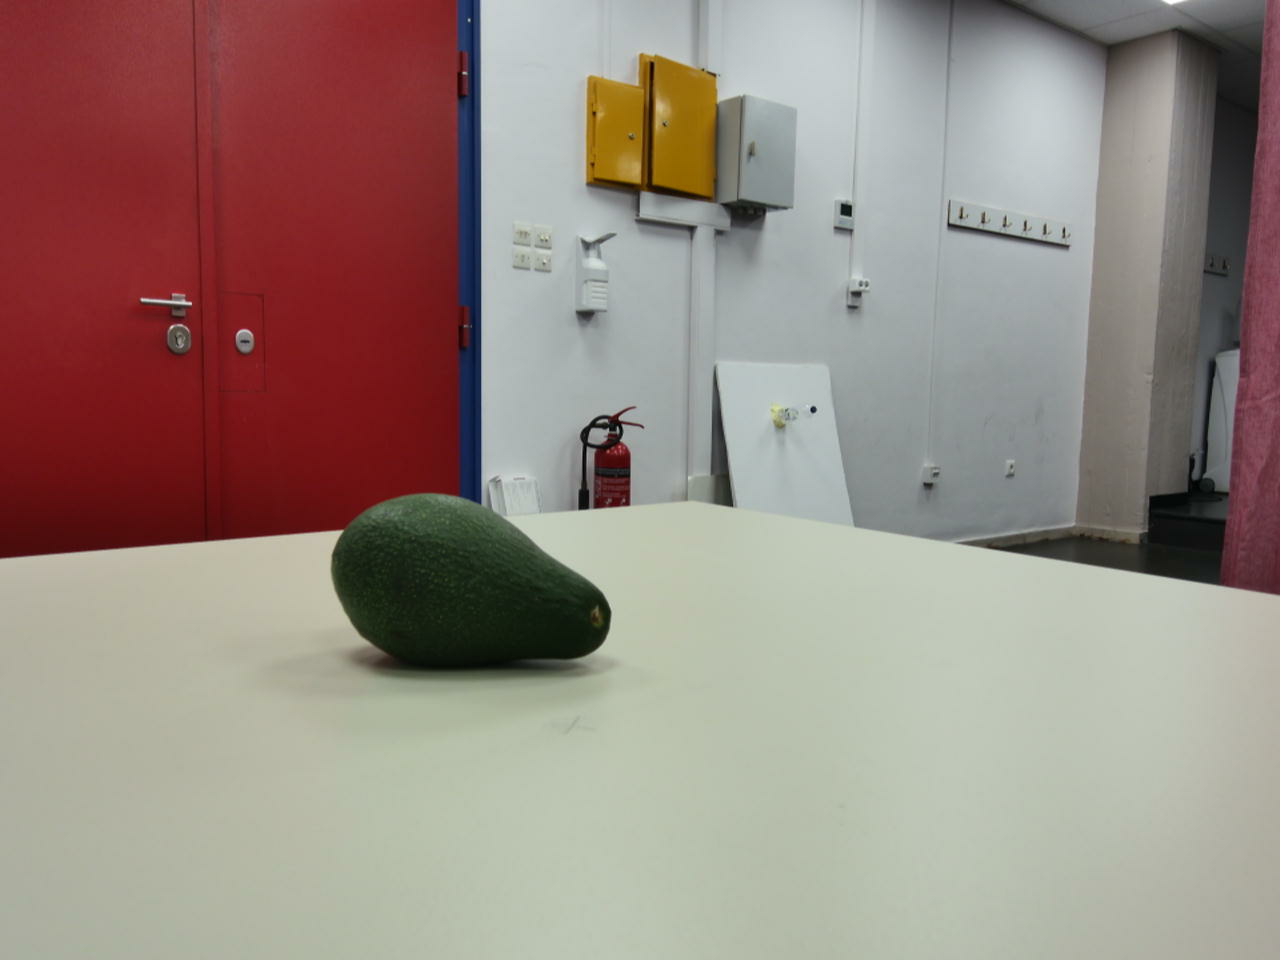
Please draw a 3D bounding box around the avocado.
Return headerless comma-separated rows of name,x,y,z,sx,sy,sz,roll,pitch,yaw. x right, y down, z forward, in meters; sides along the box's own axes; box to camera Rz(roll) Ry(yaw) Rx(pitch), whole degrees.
avocado,-0.072,0.041,0.411,0.110,0.071,0.072,2,4,29
